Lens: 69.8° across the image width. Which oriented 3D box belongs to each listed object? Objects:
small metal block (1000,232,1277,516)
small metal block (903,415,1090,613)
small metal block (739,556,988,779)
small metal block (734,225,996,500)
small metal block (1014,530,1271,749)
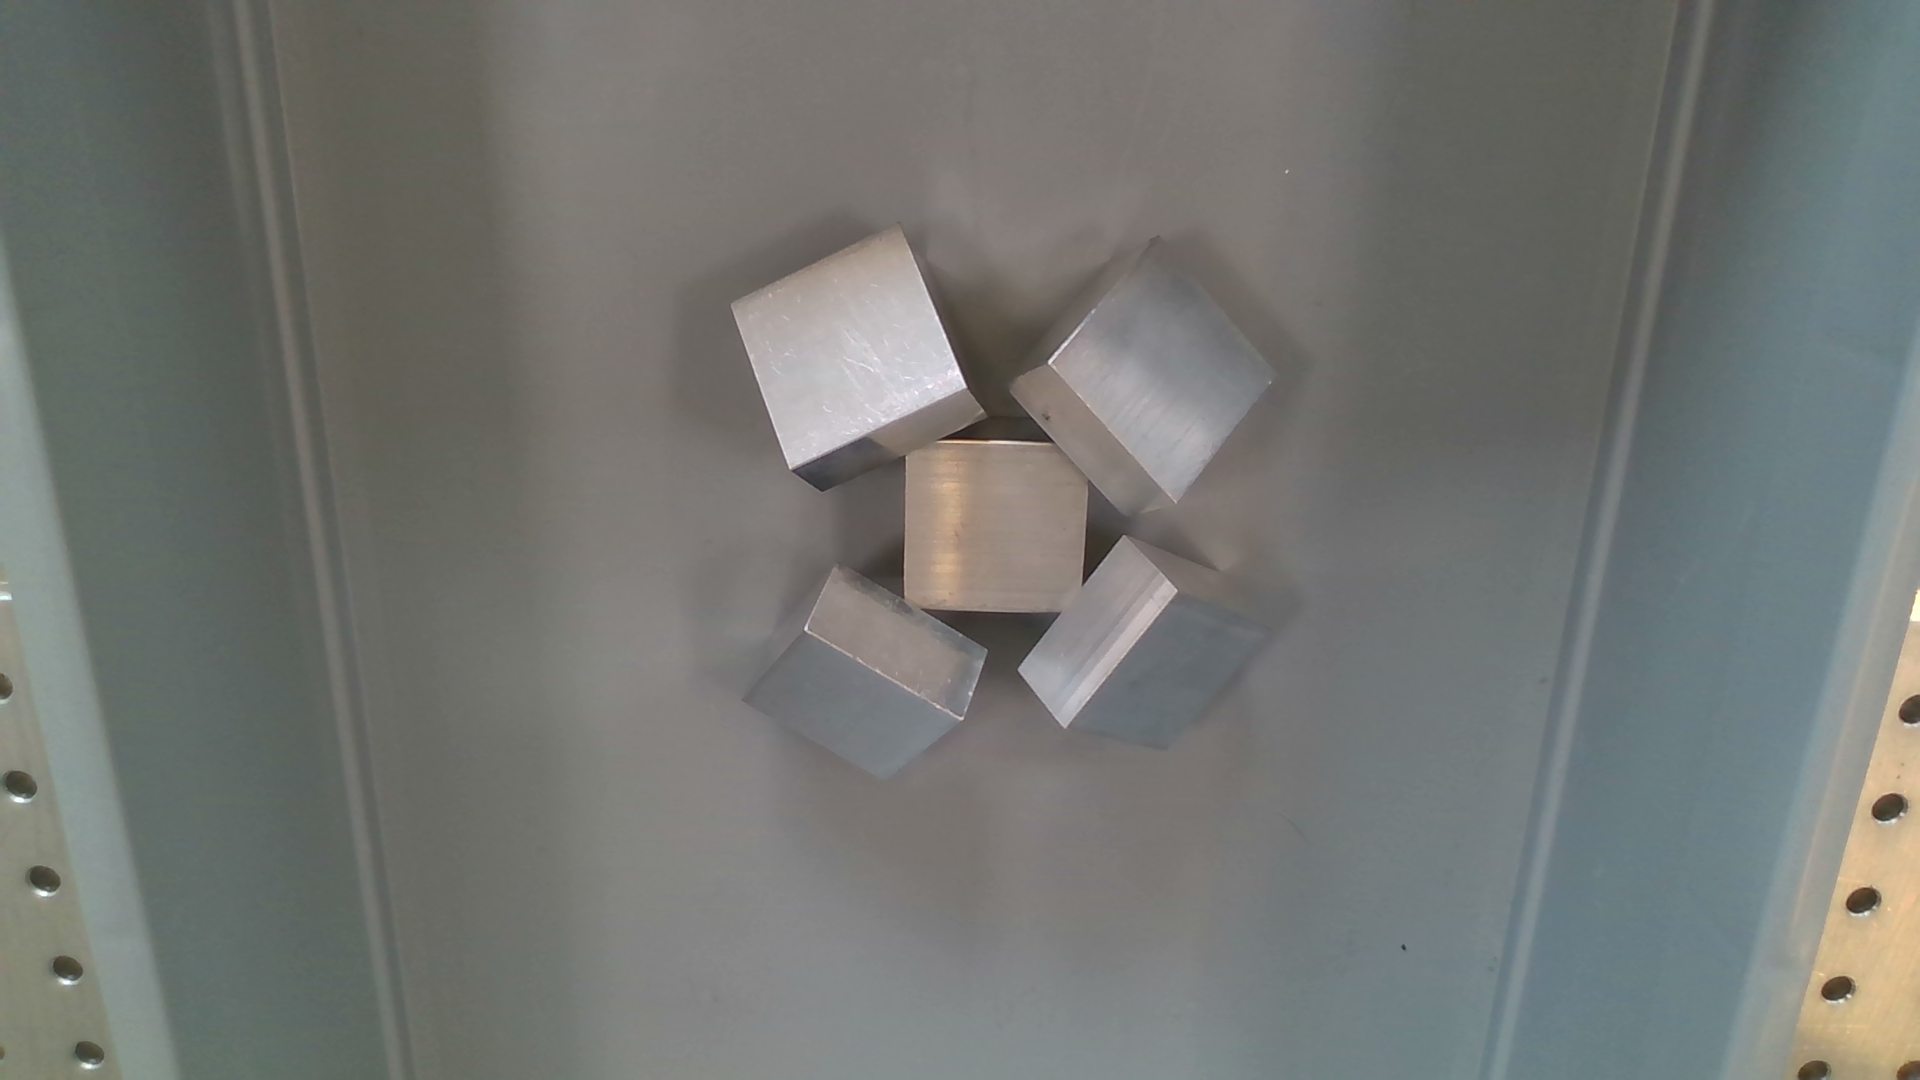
[{"bbox_3d":[0.048,-0.043,0.363,0.050,0.025,0.050,46,67,-14],"label":"small metal block"},{"bbox_3d":[0.010,-0.008,0.388,0.050,0.025,0.050,1,110,-1],"label":"small metal block"},{"bbox_3d":[-0.028,0.038,0.394,0.050,0.025,0.050,32,141,-11],"label":"small metal block"},{"bbox_3d":[-0.025,-0.046,0.363,0.050,0.025,0.050,-25,71,9],"label":"small metal block"},{"bbox_3d":[0.052,0.030,0.390,0.050,0.025,0.050,19,115,-46],"label":"small metal block"}]
